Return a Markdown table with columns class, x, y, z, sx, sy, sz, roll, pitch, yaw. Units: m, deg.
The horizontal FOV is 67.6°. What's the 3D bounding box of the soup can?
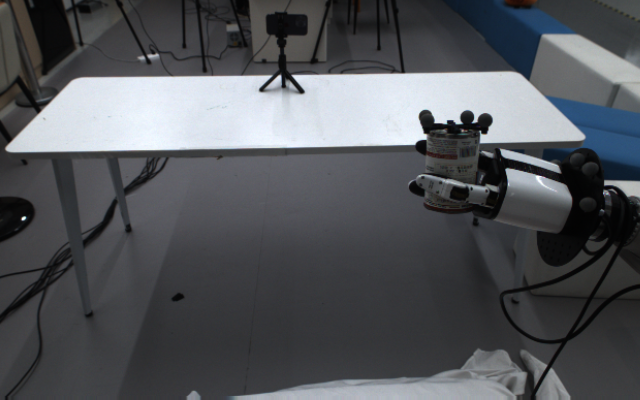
| class | x | y | z | sx | sy | sz | roll | pitch | yaw |
| --- | --- | --- | --- | --- | --- | --- | --- | --- | --- |
| soup can | 0.173 | -0.041 | 0.630 | 0.067 | 0.101 | 0.067 | -1 | 17 | 0 |
